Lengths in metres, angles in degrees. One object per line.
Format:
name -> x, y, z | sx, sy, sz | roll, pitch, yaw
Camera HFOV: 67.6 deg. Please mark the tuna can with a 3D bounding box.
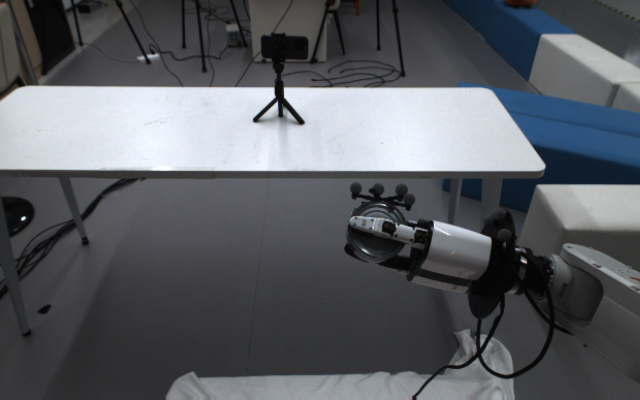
tuna can -> 0.081, 0.043, 0.690 | 0.085, 0.034, 0.085 | 1, 72, -3
